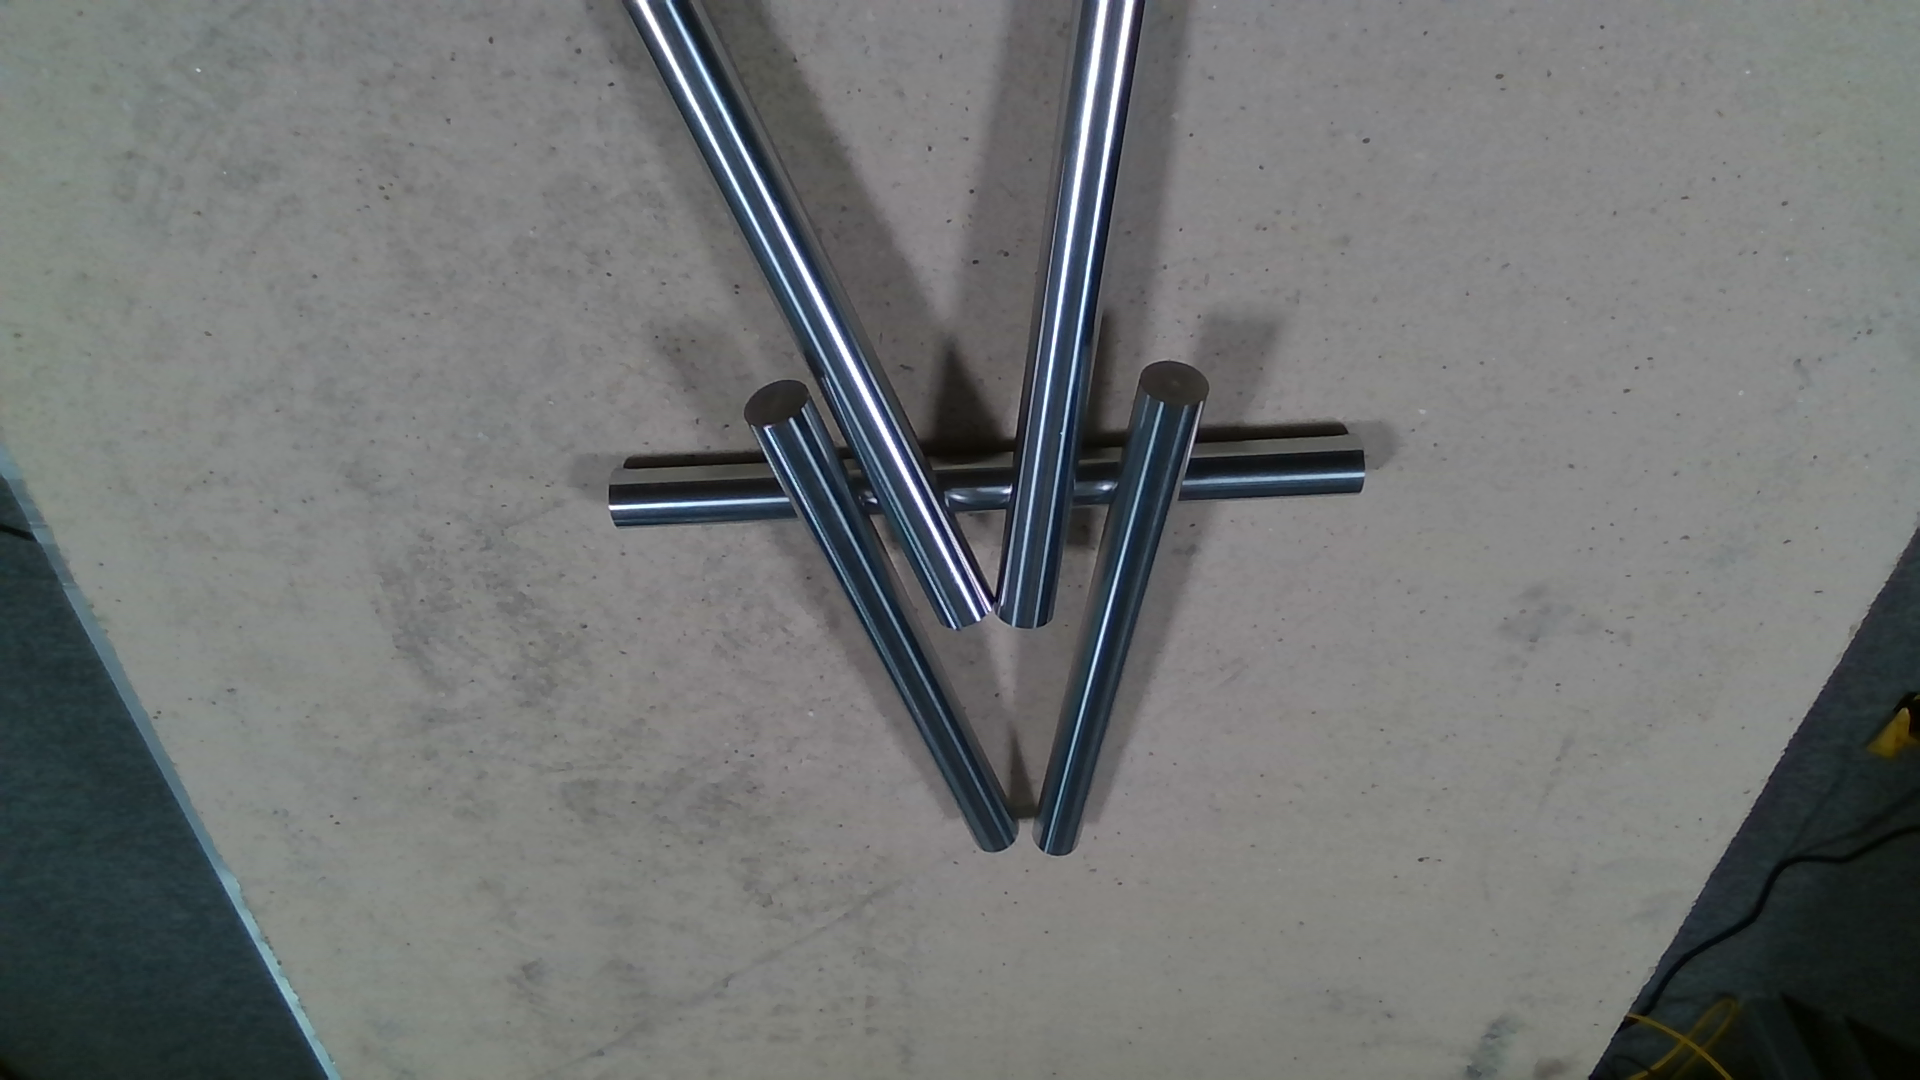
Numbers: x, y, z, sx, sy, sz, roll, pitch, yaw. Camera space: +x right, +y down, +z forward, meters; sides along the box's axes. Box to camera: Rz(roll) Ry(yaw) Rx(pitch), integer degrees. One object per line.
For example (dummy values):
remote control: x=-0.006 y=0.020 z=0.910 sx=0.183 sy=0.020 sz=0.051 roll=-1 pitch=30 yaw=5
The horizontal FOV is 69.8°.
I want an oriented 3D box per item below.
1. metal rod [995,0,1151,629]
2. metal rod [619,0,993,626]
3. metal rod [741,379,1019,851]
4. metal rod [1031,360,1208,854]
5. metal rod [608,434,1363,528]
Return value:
metal rod: x=0.039 y=-0.095 z=0.481 sx=0.025 sy=0.025 sz=0.301 roll=4 pitch=124 yaw=-3
metal rod: x=-0.054 y=-0.088 z=0.487 sx=0.025 sy=0.025 sz=0.301 roll=-17 pitch=122 yaw=14
metal rod: x=-0.024 y=0.049 z=0.600 sx=0.025 sy=0.025 sz=0.301 roll=-13 pitch=135 yaw=11
metal rod: x=0.062 y=0.048 z=0.598 sx=0.025 sy=0.025 sz=0.301 roll=4 pitch=136 yaw=-3
metal rod: x=0.009 y=-0.024 z=0.559 sx=0.300 sy=0.025 sz=0.025 roll=-3 pitch=130 yaw=2
